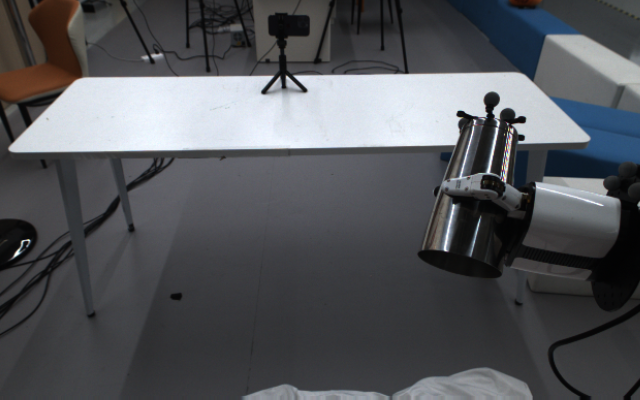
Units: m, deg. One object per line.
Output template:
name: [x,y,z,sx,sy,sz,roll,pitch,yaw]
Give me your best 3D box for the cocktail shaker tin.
cocktail shaker tin: [0.180,-0.004,0.560,0.093,0.093,0.170,14,73,16]
